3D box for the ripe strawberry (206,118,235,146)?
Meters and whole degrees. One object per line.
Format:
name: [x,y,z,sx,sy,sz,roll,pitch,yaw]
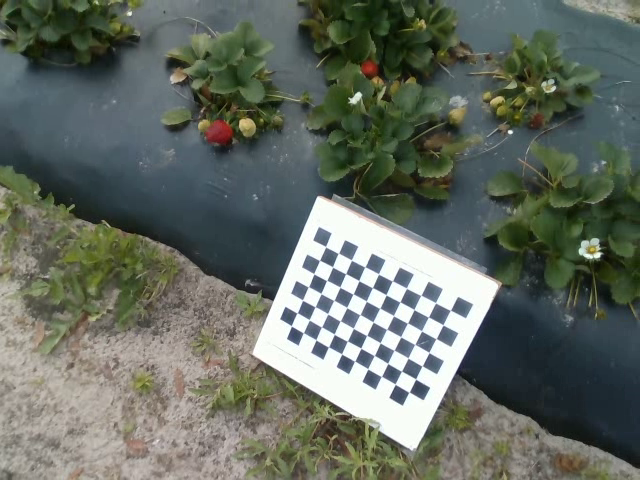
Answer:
ripe strawberry: [-0.178,-0.178,1.116,0.046,0.046,0.059,21,33,19]
